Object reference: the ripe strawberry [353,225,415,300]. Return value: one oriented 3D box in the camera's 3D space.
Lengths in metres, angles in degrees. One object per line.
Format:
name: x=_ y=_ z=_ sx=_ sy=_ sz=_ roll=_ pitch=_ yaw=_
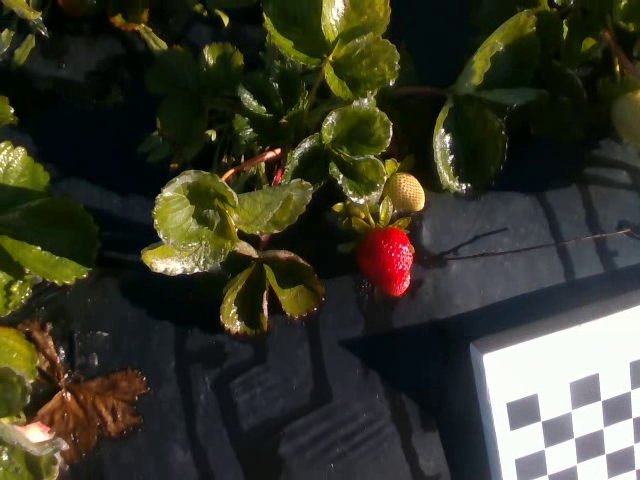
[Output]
ripe strawberry: x=0.038 y=0.014 z=0.314 sx=0.039 sy=0.039 sz=0.040 roll=-21 pitch=-43 yaw=6
